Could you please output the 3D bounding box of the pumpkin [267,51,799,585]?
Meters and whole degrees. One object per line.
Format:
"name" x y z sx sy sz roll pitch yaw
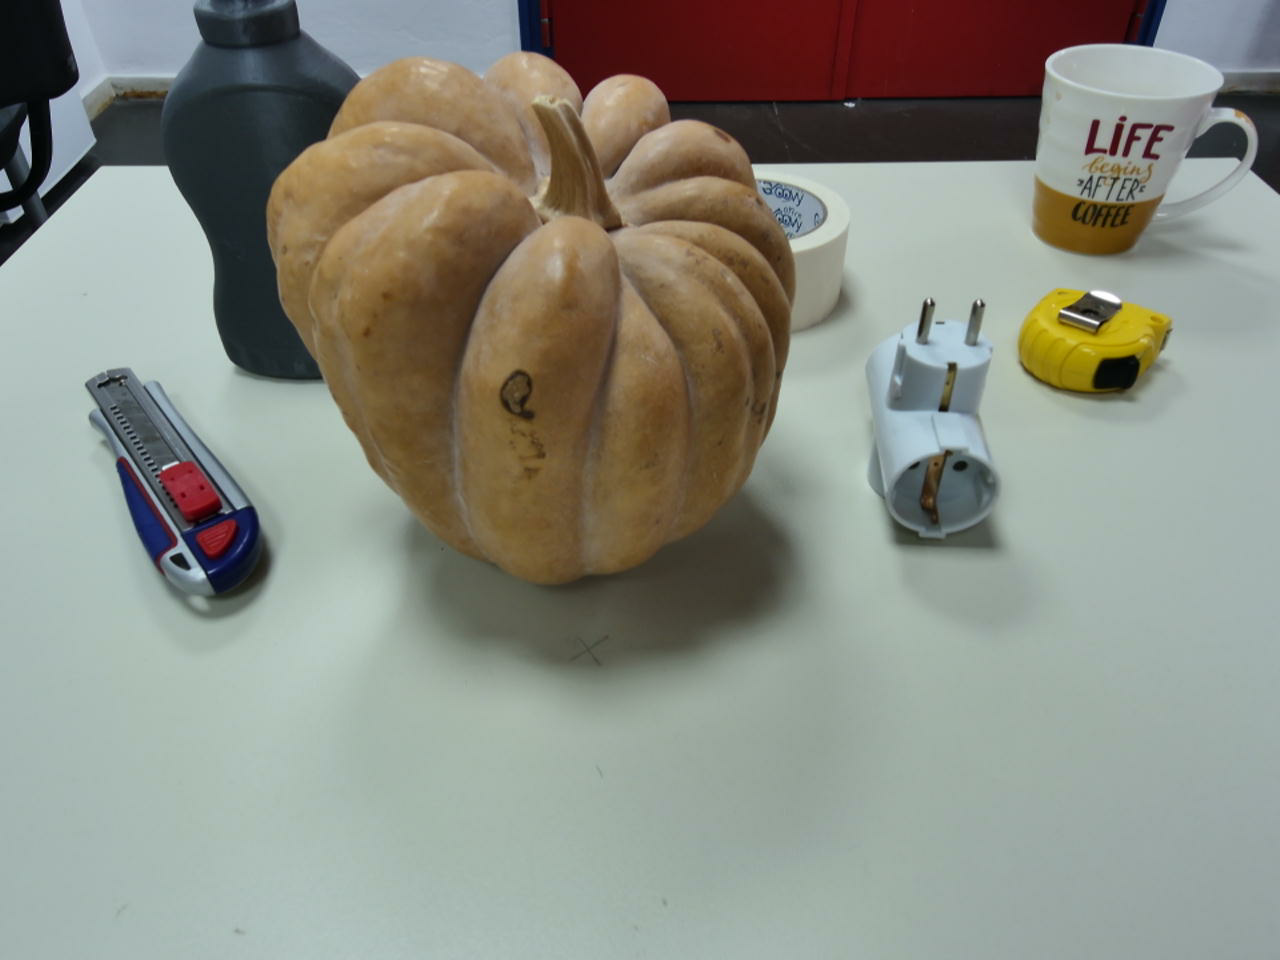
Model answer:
"pumpkin" -0.035 -0.060 0.380 0.199 0.177 0.198 0 39 0
